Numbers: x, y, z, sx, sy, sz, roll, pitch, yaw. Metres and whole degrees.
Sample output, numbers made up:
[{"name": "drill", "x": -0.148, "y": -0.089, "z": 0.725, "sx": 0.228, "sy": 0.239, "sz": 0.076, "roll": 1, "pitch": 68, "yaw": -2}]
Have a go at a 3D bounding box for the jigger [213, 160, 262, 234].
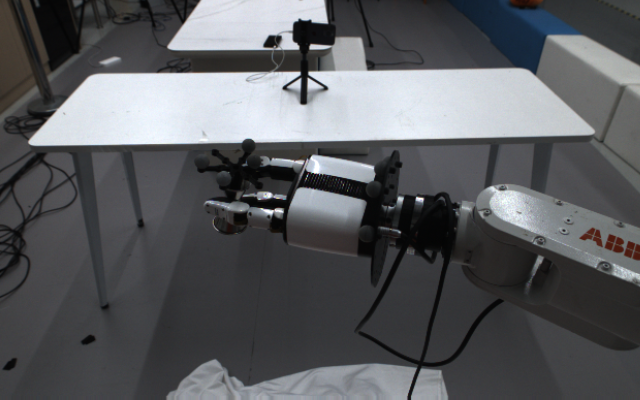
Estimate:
[{"name": "jigger", "x": -0.108, "y": 0.004, "z": 0.599, "sx": 0.043, "sy": 0.071, "sz": 0.043, "roll": 10, "pitch": 36, "yaw": -7}]
